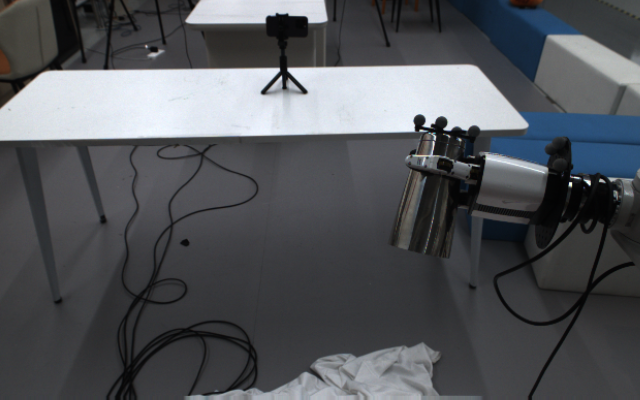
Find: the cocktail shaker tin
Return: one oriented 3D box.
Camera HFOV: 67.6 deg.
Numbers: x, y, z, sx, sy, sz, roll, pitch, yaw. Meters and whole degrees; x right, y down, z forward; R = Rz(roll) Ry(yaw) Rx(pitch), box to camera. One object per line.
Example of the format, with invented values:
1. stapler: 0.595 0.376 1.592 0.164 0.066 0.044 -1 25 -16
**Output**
1. cocktail shaker tin: 0.167 -0.012 0.714 0.093 0.170 0.093 13 1 0
